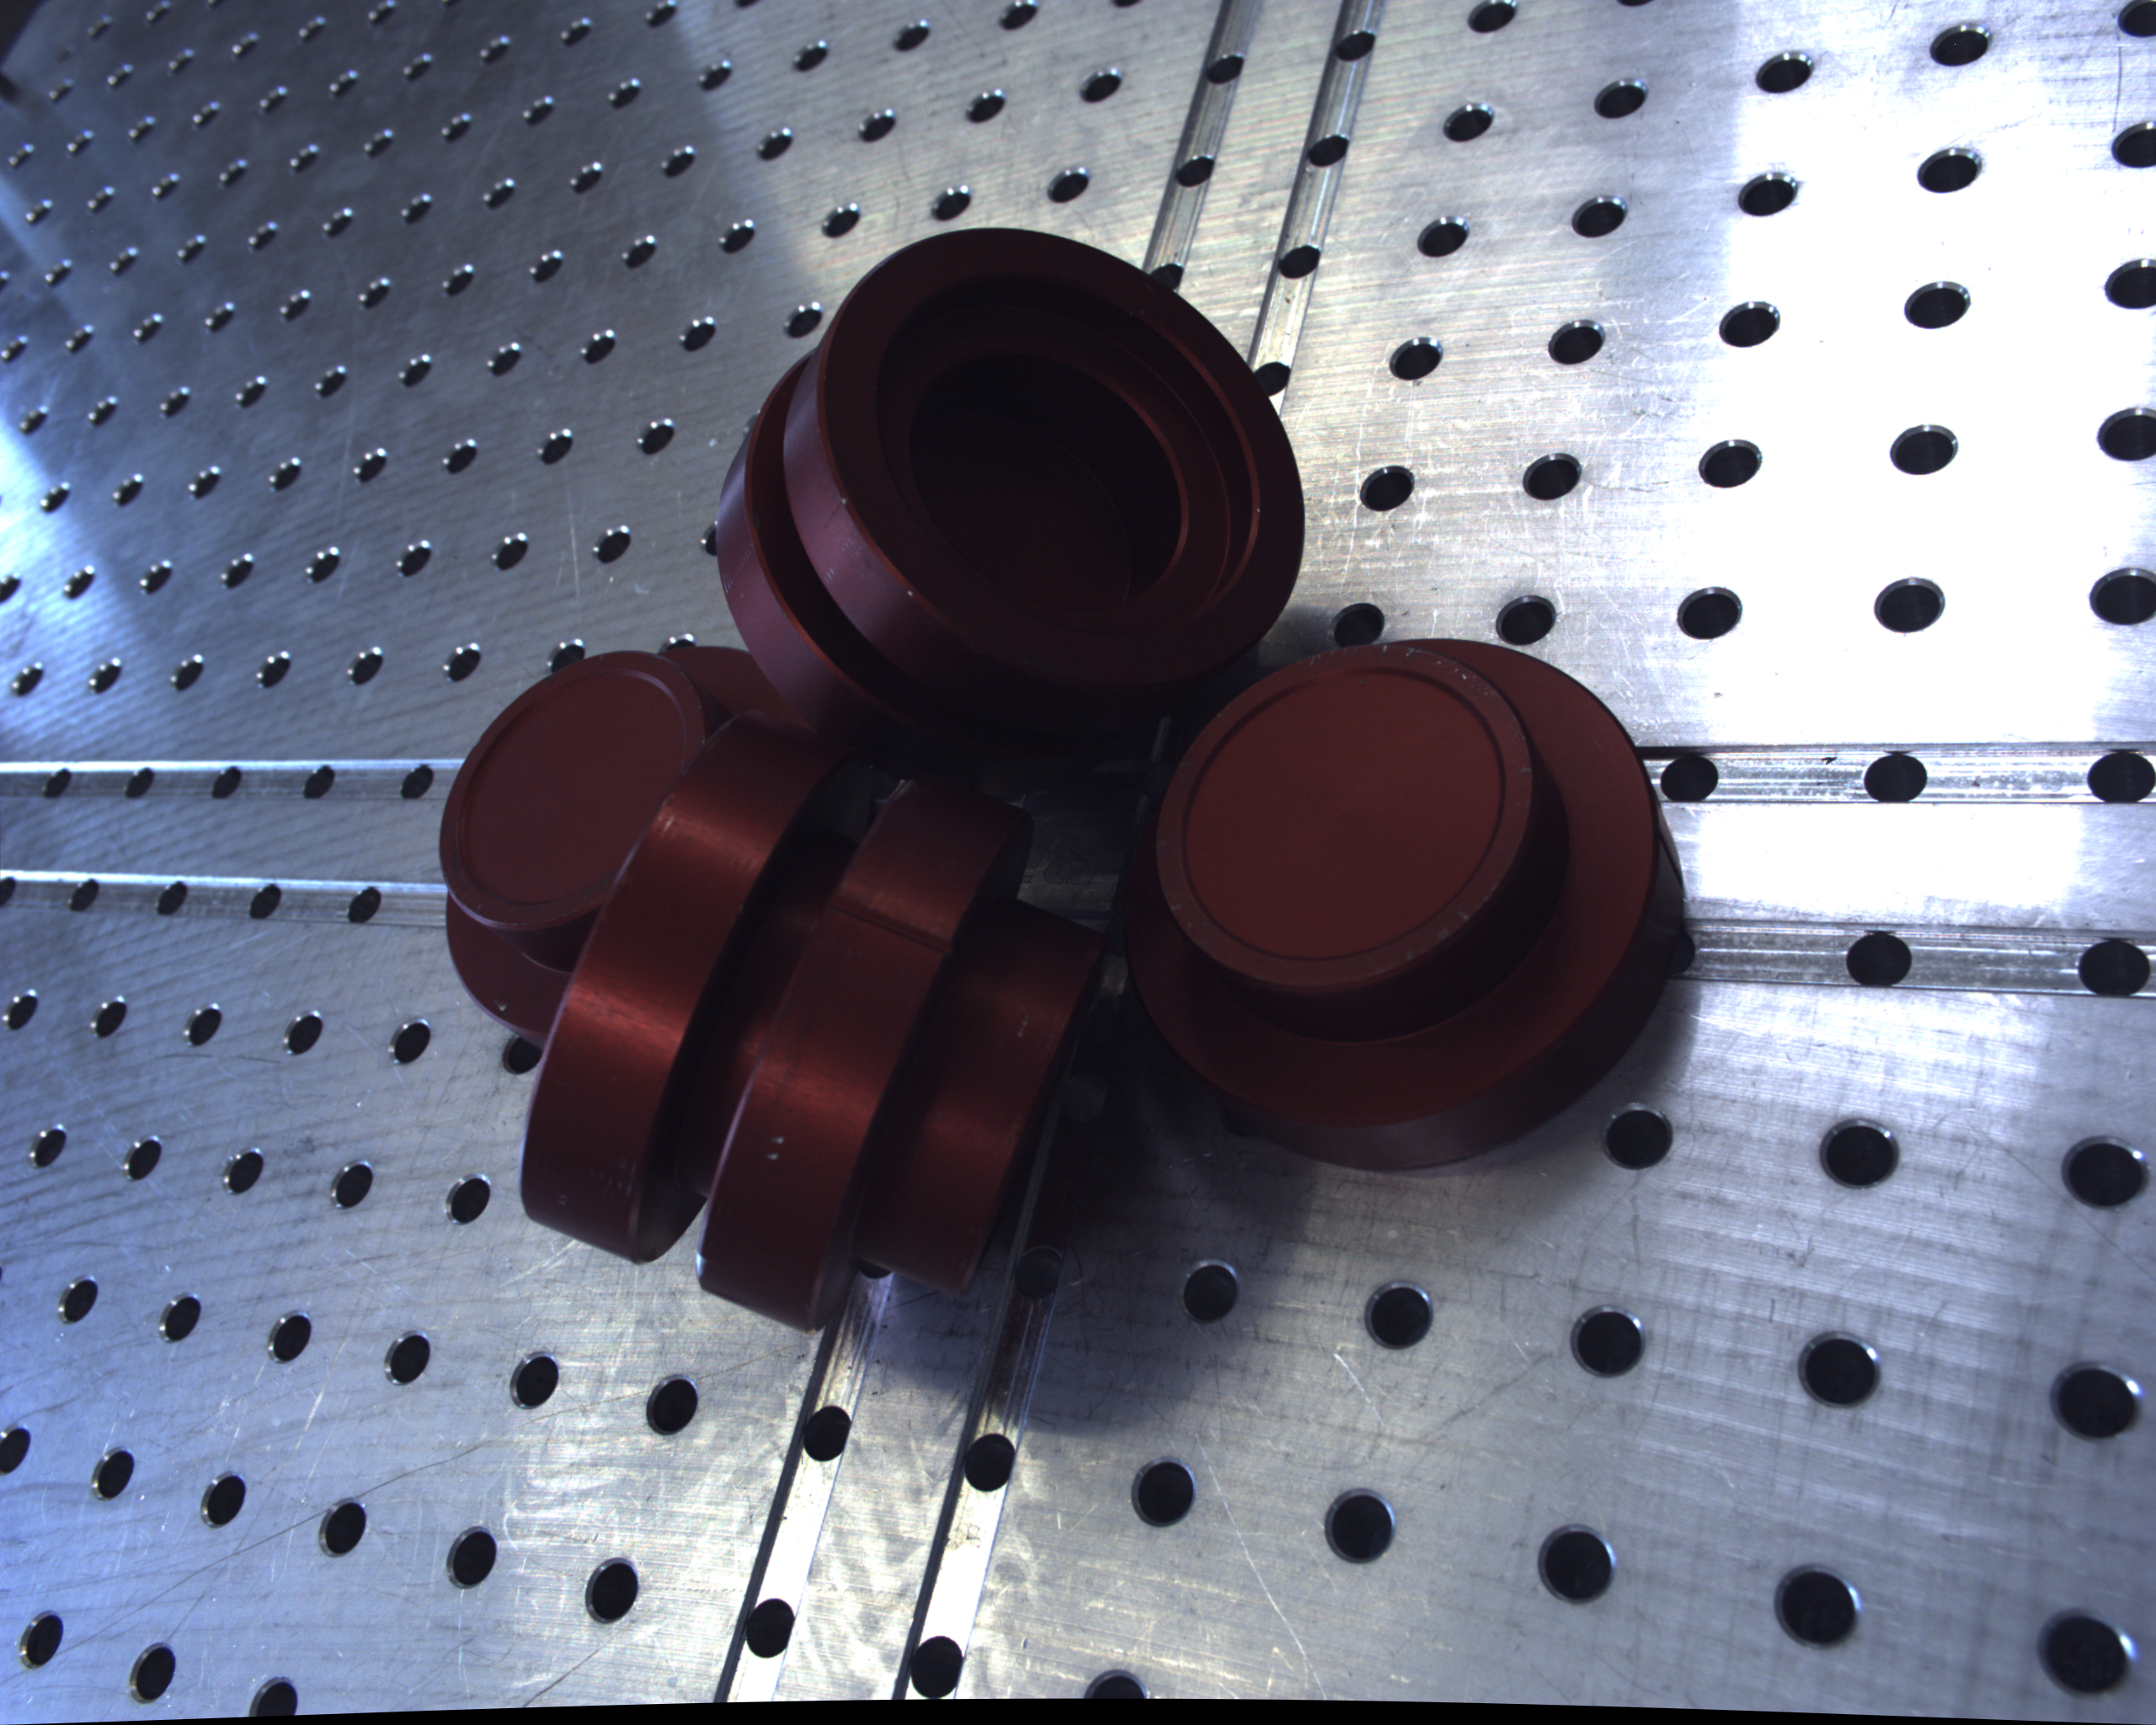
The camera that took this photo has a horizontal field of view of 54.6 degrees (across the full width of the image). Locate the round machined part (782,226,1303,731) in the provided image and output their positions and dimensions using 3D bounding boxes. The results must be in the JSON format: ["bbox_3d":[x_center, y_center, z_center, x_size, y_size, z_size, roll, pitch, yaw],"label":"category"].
[{"bbox_3d":[-0.010,-0.069,0.401,0.042,0.099,0.098,-41,35,56],"label":"round machined part"}]

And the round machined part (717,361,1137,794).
[{"bbox_3d":[-0.026,-0.058,0.426,0.042,0.099,0.098,-41,35,56],"label":"round machined part"}]

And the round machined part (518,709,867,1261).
[{"bbox_3d":[-0.056,0.026,0.370,0.042,0.098,0.098,22,71,3],"label":"round machined part"}]

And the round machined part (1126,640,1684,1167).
[{"bbox_3d":[0.053,0.001,0.370,0.098,0.042,0.098,-13,56,21],"label":"round machined part"}]

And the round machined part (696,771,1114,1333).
[{"bbox_3d":[-0.026,0.037,0.365,0.042,0.098,0.098,23,71,3],"label":"round machined part"}]

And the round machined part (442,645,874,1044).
[{"bbox_3d":[-0.097,-0.007,0.453,0.098,0.042,0.098,-13,56,21],"label":"round machined part"}]
